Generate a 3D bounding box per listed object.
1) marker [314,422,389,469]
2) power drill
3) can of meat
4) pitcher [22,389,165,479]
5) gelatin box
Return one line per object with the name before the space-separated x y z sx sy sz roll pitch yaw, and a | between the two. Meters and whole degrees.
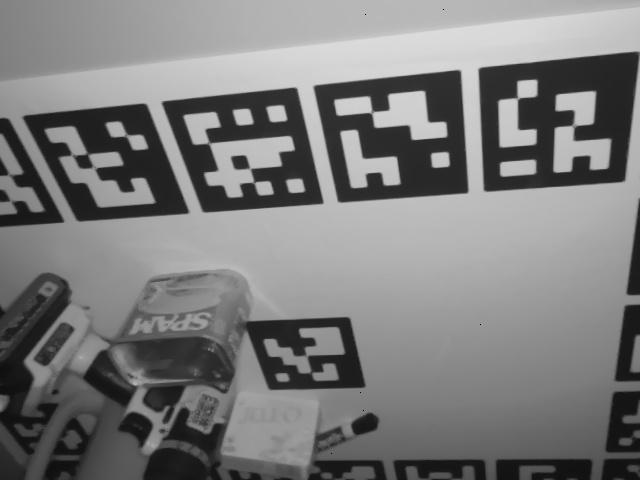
marker | 0.022 0.221 0.732 0.119 0.020 0.020 -30 116 24
power drill | -0.166 0.157 0.613 0.187 0.187 0.056 26 122 -4
can of meat | -0.107 0.072 0.602 0.101 0.084 0.057 -6 126 13
pitcher | -0.195 0.258 0.660 0.190 0.244 0.131 18 123 -13
gelatin box | -0.045 0.196 0.694 0.089 0.074 0.030 5 122 7
